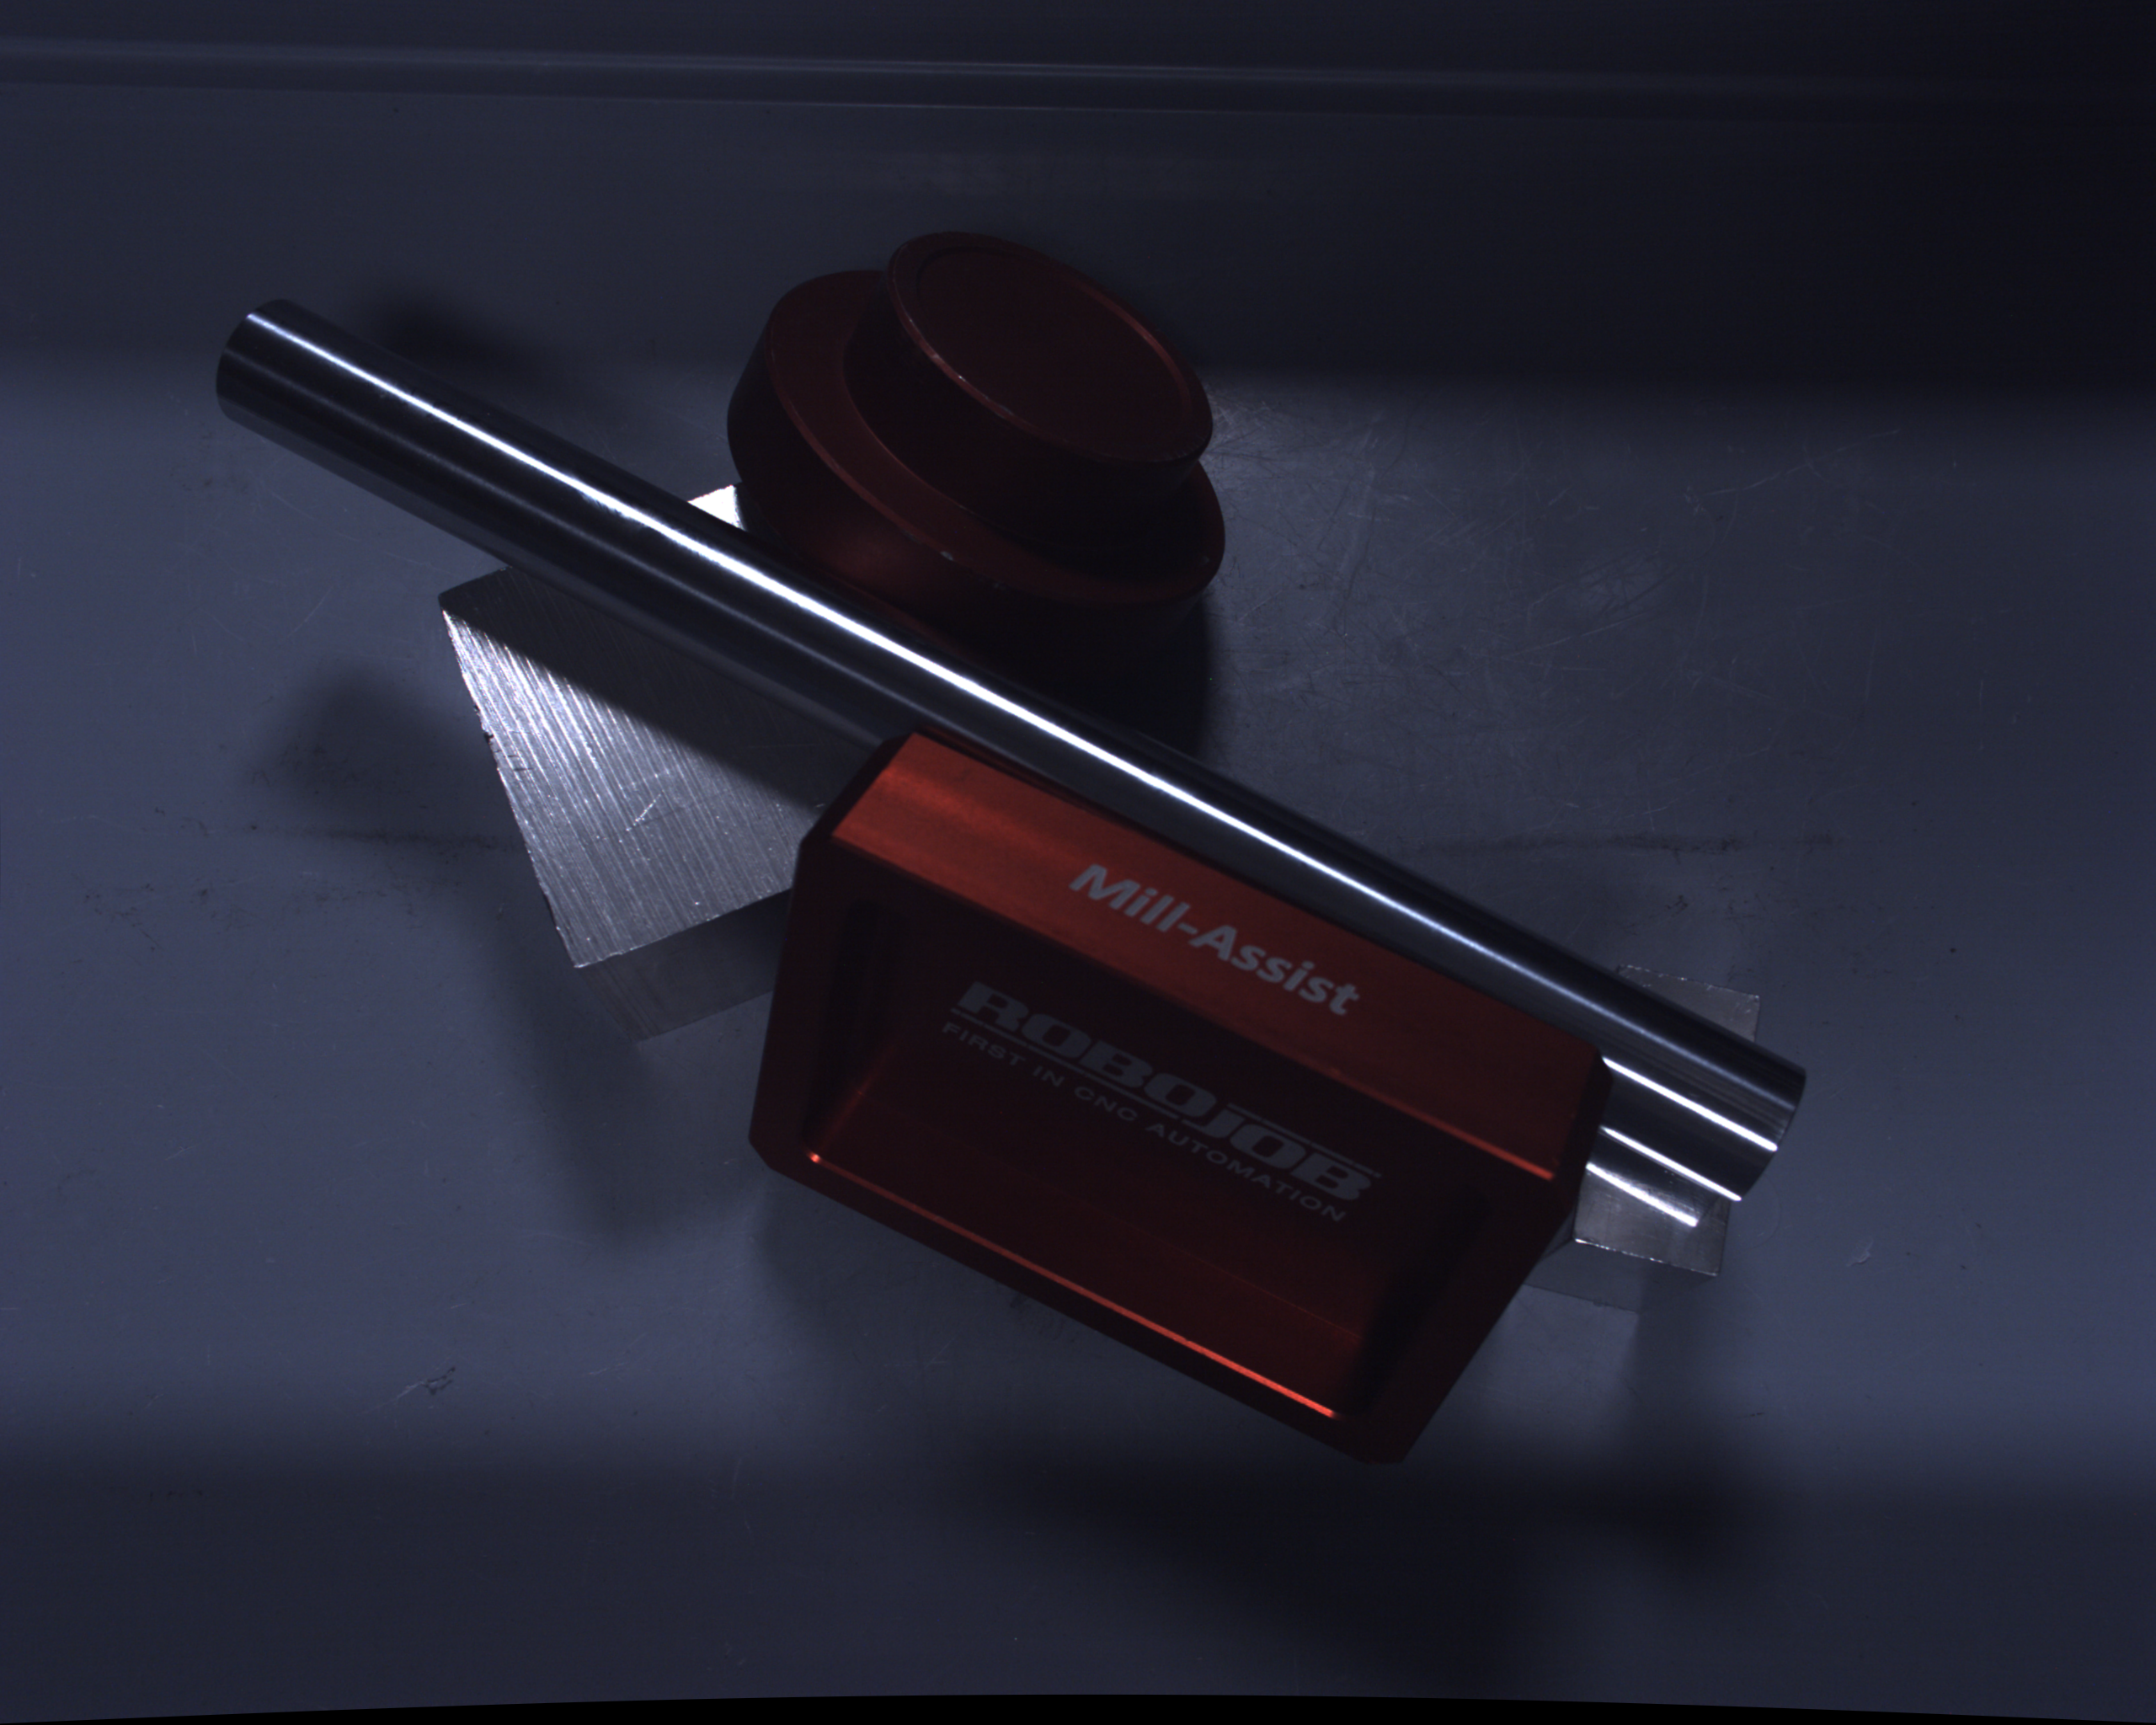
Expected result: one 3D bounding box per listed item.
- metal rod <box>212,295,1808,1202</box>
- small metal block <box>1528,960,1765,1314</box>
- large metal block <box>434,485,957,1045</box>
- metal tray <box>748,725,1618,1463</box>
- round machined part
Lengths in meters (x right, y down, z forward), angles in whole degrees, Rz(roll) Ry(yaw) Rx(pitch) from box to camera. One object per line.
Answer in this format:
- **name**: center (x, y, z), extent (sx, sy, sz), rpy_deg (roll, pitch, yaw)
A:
- **metal rod**: center (-0.019, -0.024, 0.362), extent (0.301, 0.025, 0.025), rpy_deg (28, 72, 9)
- **small metal block**: center (0.100, 0.051, 0.377), extent (0.025, 0.050, 0.050), rpy_deg (14, 71, 5)
- **large metal block**: center (-0.066, -0.022, 0.402), extent (0.080, 0.050, 0.080), rpy_deg (-21, 72, -8)
- **metal tray**: center (0.012, 0.042, 0.355), extent (0.130, 0.089, 0.030), rpy_deg (25, 45, 8)
- **round machined part**: center (-0.013, -0.084, 0.402), extent (0.099, 0.042, 0.098), rpy_deg (22, 39, -18)
